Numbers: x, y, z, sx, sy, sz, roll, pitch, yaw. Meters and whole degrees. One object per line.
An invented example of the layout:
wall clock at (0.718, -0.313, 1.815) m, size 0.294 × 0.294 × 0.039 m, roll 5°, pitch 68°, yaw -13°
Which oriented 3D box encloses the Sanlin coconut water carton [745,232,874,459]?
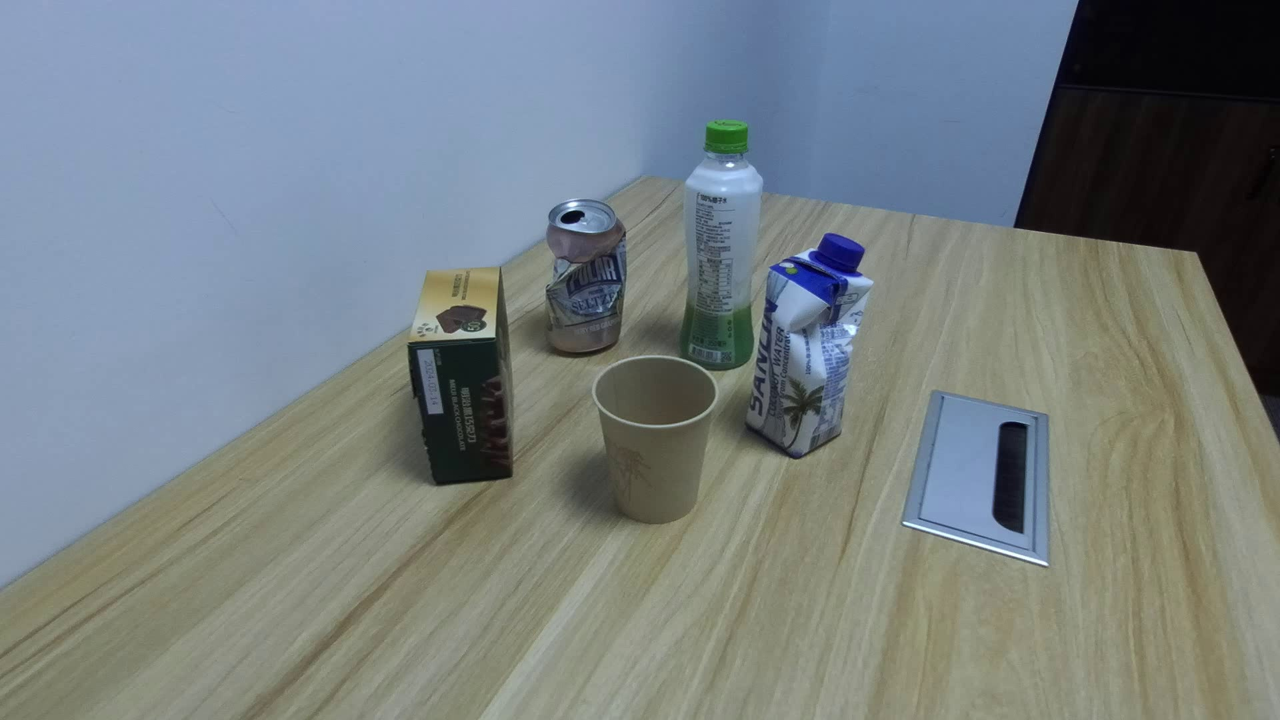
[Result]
Sanlin coconut water carton at (0.112, -0.009, 0.468) m, size 0.070 × 0.144 × 0.060 m, roll -21°, pitch 37°, yaw -31°

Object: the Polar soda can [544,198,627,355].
Polar soda can at (-0.048, -0.065, 0.591) m, size 0.066 × 0.122 × 0.071 m, roll 11°, pitch 34°, yaw 11°

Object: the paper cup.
paper cup at (0.009, 0.051, 0.430) m, size 0.075 × 0.082 × 0.075 m, roll -1°, pitch 33°, yaw 1°

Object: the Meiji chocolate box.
Meiji chocolate box at (-0.118, 0.008, 0.485) m, size 0.056 × 0.109 × 0.109 m, roll -4°, pitch 31°, yaw -7°

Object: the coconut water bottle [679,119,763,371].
coconut water bottle at (0.064, -0.087, 0.549) m, size 0.063 × 0.189 × 0.063 m, roll 0°, pitch 30°, yaw 0°
